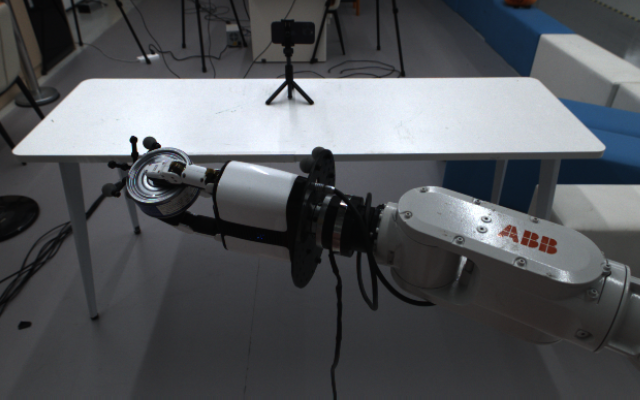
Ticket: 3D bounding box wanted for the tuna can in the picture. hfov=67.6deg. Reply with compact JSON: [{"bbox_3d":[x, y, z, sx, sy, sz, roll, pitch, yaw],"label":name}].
[{"bbox_3d":[-0.191,-0.023,0.597,0.085,0.034,0.085,-3,59,6],"label":"tuna can"}]
